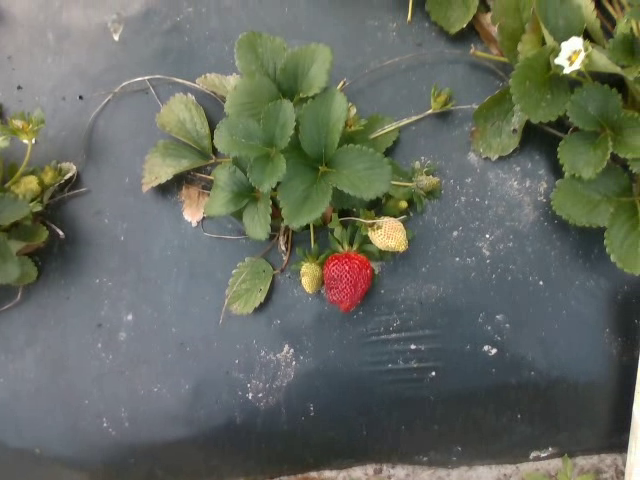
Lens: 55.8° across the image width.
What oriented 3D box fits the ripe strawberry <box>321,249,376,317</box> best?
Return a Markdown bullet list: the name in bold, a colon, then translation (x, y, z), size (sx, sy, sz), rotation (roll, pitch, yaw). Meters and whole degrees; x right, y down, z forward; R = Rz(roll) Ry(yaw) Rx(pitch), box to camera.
- **ripe strawberry**: translation (0.023, 0.038, 0.494), size (0.046, 0.059, 0.046), rotation (-8, -40, 18)
